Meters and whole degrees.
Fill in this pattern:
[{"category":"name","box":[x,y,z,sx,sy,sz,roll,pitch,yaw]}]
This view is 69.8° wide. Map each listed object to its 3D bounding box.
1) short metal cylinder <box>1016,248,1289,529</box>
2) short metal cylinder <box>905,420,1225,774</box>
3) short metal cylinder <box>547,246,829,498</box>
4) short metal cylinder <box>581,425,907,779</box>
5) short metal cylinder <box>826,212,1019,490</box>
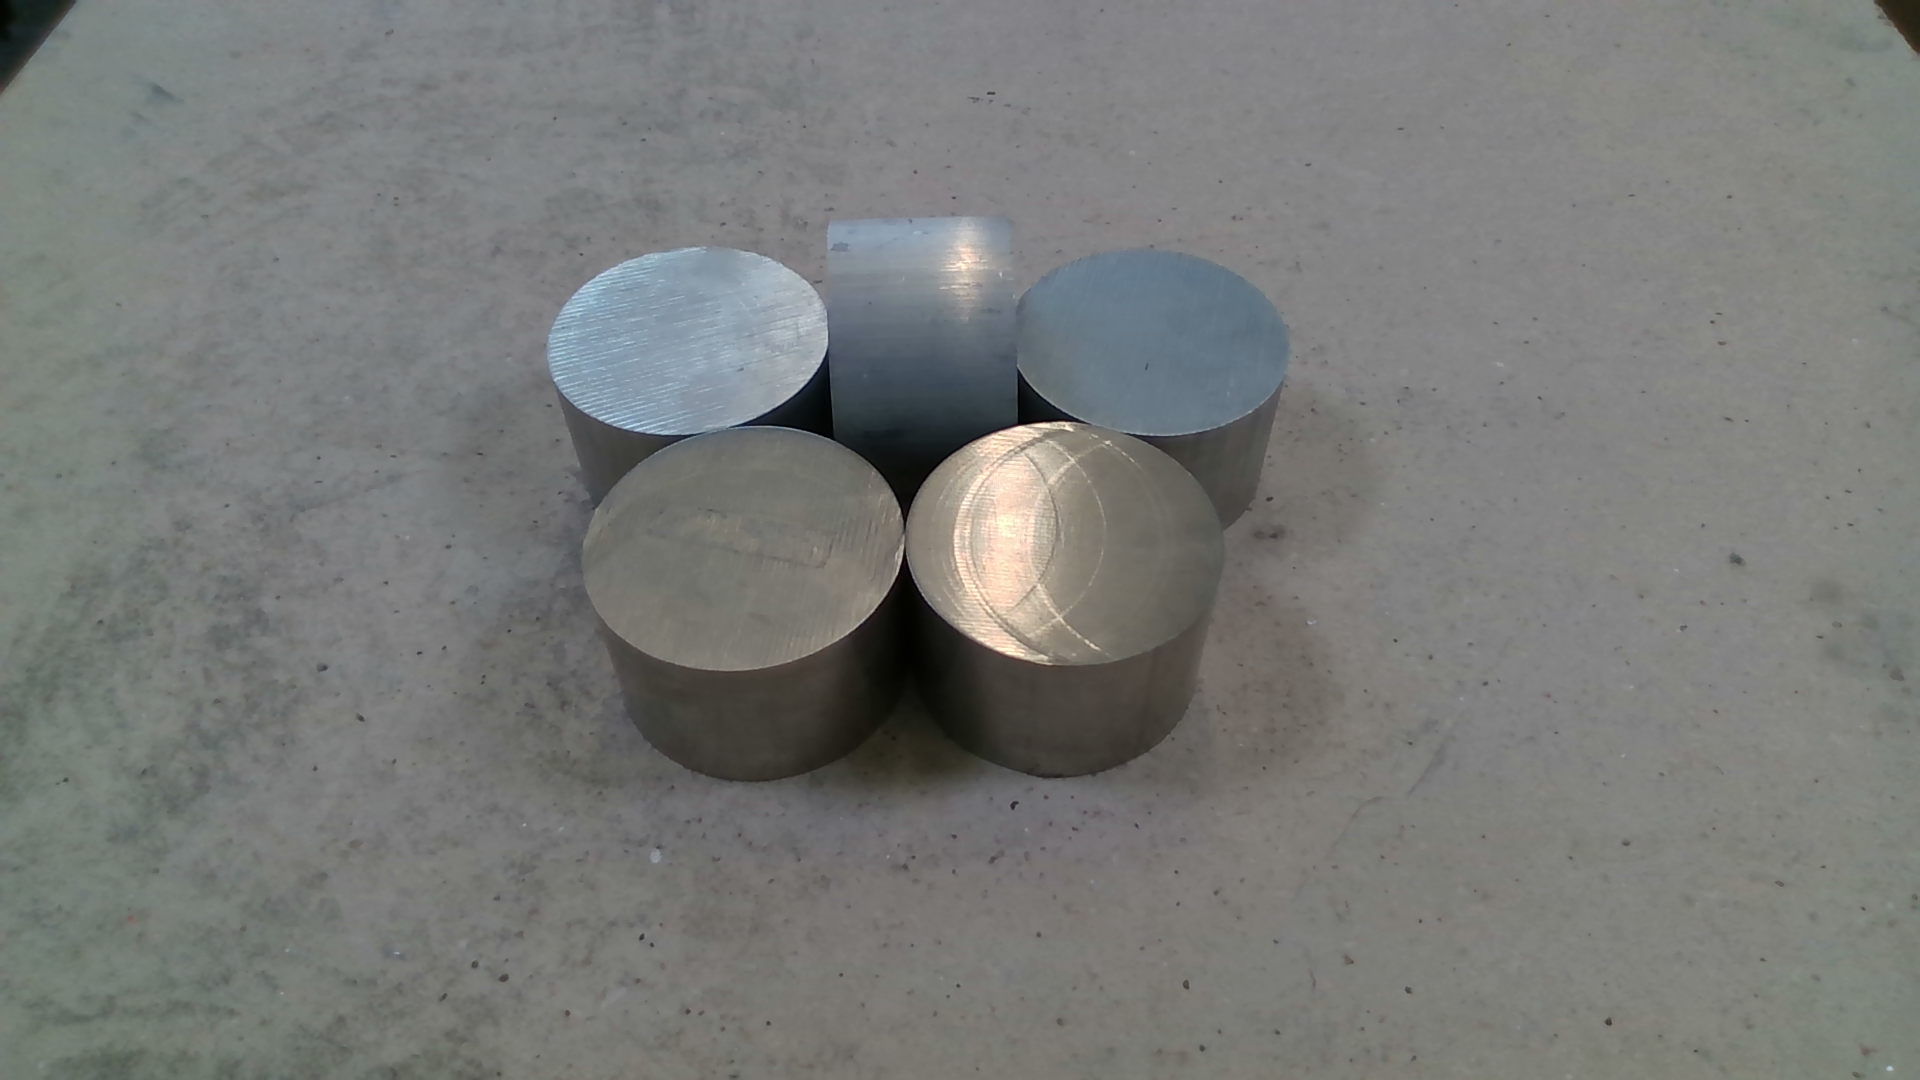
[{"category":"short metal cylinder","box":[0.054,-0.043,0.413,0.080,0.050,0.080,0,49,0]},{"category":"short metal cylinder","box":[0.026,0.014,0.365,0.080,0.050,0.080,0,50,0]},{"category":"short metal cylinder","box":[-0.078,-0.043,0.414,0.080,0.050,0.080,0,49,0]},{"category":"short metal cylinder","box":[-0.054,0.015,0.364,0.080,0.050,0.080,0,49,0]},{"category":"short metal cylinder","box":[-0.011,-0.055,0.404,0.050,0.080,0.080,-3,50,-2]}]
